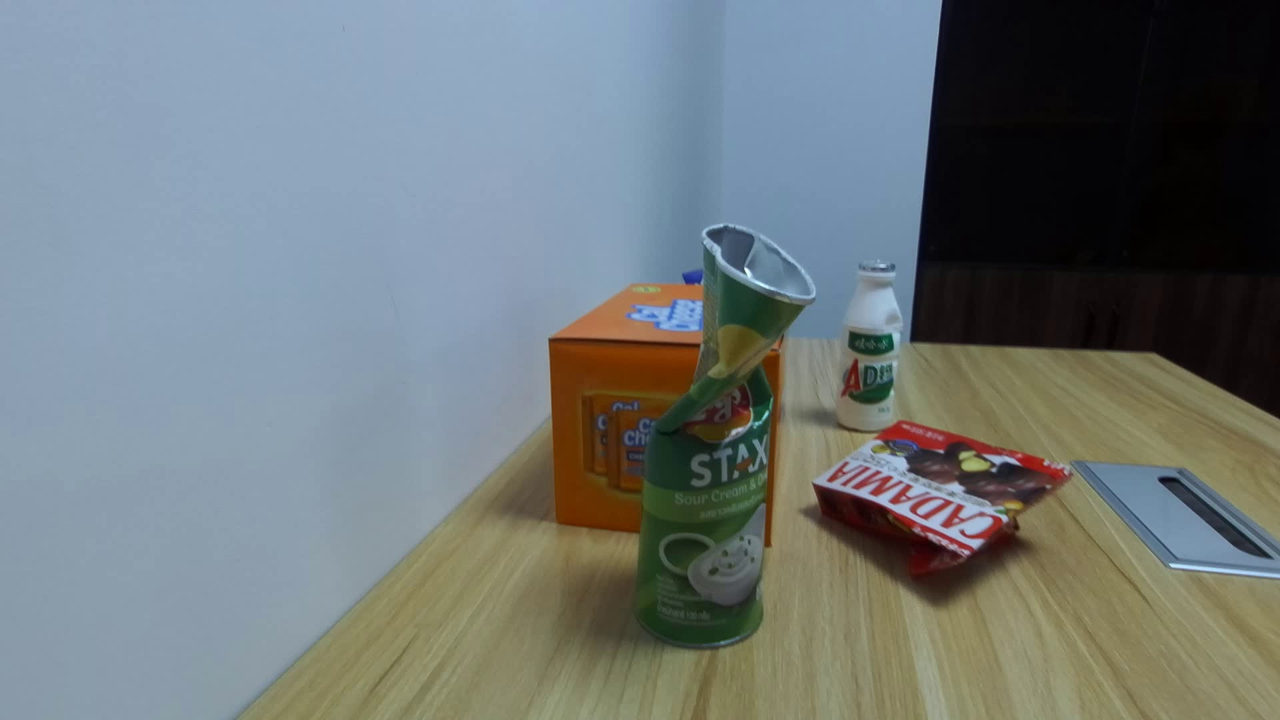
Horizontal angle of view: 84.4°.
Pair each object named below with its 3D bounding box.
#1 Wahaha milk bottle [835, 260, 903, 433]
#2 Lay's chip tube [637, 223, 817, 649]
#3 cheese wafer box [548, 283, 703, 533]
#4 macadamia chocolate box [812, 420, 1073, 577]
[{"bbox_3d":[0.207,-0.006,0.635,0.053,0.136,0.053,1,14,0],"label":"Wahaha milk bottle"},{"bbox_3d":[0.041,0.042,0.350,0.071,0.199,0.079,15,20,25],"label":"Lay's chip tube"},{"bbox_3d":[0.037,0.024,0.540,0.148,0.129,0.222,3,16,13],"label":"cheese wafer box"},{"bbox_3d":[0.183,0.085,0.448,0.112,0.056,0.126,-9,17,-31],"label":"macadamia chocolate box"}]
